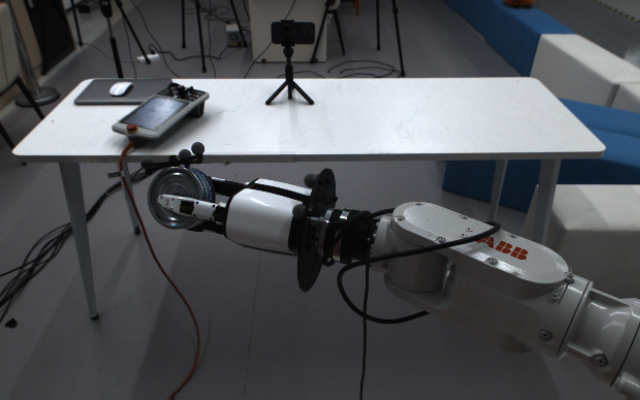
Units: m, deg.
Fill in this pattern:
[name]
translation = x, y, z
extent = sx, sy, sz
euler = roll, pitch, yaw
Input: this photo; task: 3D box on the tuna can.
[tuna can]
translation = -0.185, 0.003, 0.651
extent = 0.085, 0.085, 0.034
euler = 12, 3, 14
